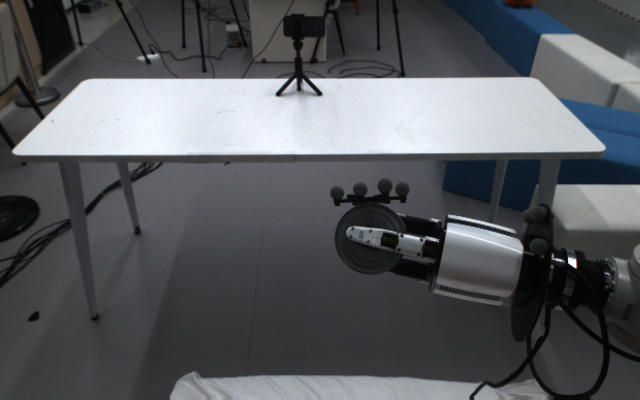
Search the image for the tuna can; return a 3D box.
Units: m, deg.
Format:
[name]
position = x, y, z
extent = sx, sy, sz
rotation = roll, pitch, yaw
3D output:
[tuna can]
position = 0.065, 0.045, 0.585
extent = 0.085, 0.085, 0.034
rotation = 10, -7, 12
